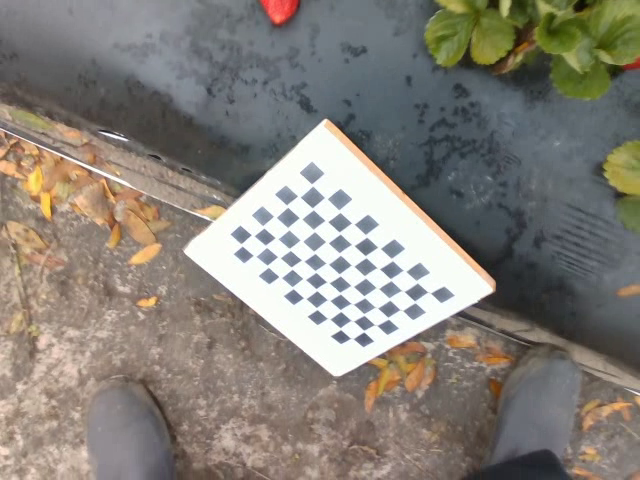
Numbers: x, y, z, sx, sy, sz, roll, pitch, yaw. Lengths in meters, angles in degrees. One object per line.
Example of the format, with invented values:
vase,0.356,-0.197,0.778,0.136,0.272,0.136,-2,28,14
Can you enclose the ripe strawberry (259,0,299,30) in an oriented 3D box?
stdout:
ripe strawberry,-0.044,-0.251,0.594,0.045,0.054,0.048,2,-12,16
